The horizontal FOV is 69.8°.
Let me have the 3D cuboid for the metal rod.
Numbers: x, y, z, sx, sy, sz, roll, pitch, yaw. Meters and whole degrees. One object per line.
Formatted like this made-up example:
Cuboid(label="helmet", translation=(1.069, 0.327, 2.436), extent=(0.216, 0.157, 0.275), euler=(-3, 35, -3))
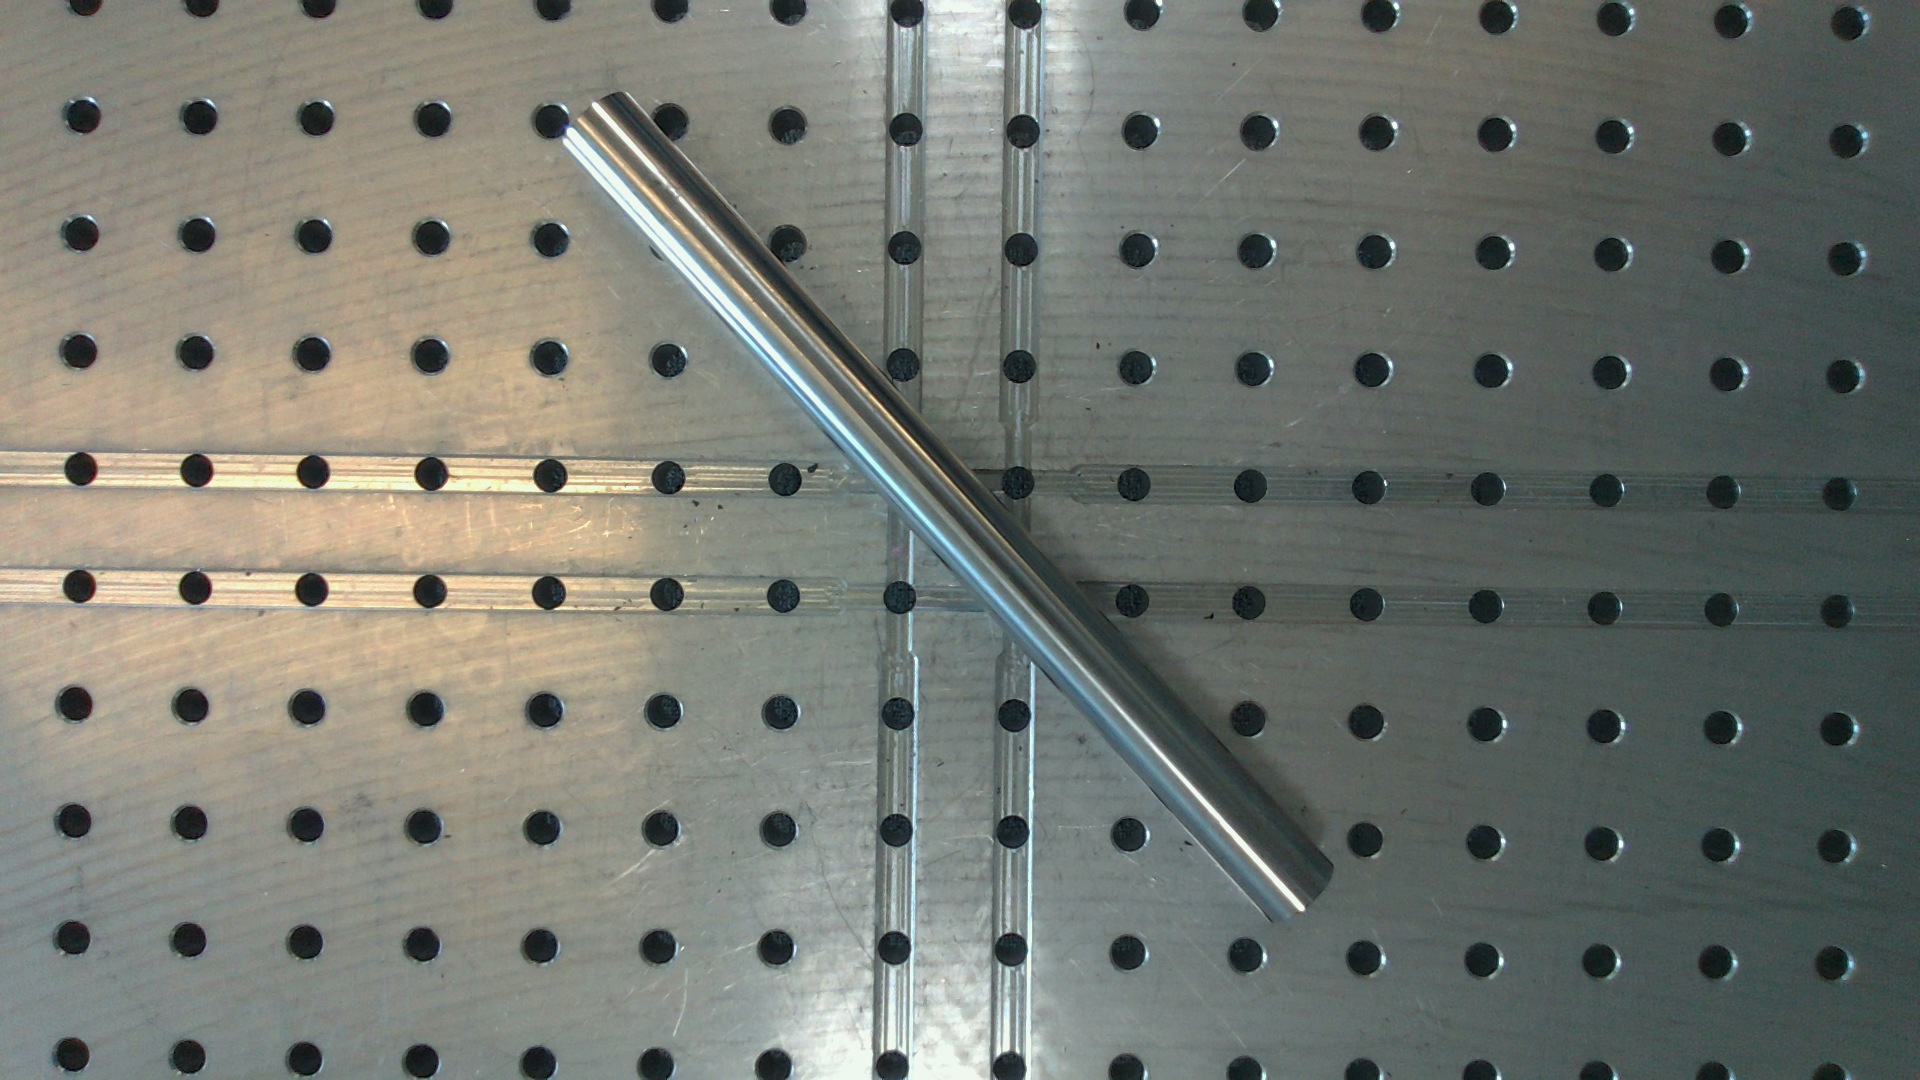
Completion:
Cuboid(label="metal rod", translation=(-0.004, -0.010, 0.398), extent=(0.025, 0.025, 0.300), euler=(-42, 90, 0))
